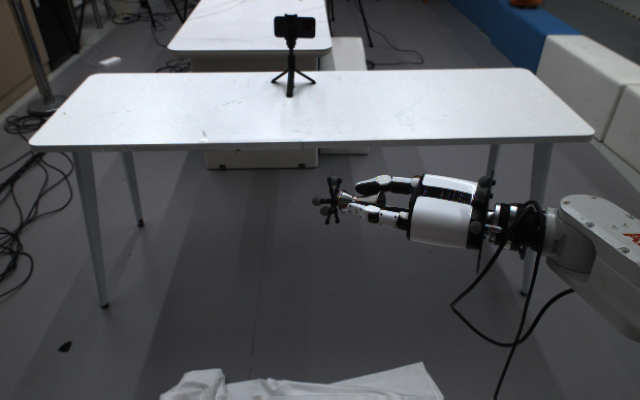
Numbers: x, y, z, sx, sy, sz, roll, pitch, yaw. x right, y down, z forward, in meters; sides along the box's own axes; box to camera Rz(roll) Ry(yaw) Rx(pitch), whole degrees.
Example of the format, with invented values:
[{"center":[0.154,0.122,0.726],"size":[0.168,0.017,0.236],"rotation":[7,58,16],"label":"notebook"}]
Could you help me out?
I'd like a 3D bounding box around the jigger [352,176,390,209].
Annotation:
[{"center":[0.076,-0.003,0.792],"size":[0.071,0.043,0.043],"rotation":[2,32,26],"label":"jigger"}]
